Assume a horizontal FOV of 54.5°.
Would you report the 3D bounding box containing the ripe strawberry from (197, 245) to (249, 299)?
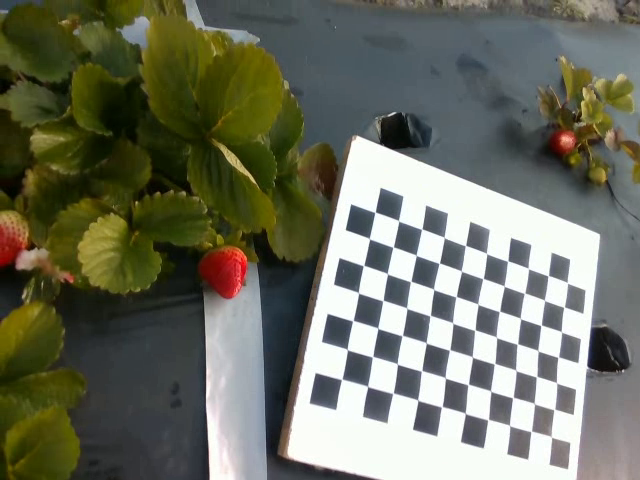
[{"bbox_3d":[-0.068,0.025,0.463,0.050,0.055,0.035,15,-32,-26],"label":"ripe strawberry"}]
